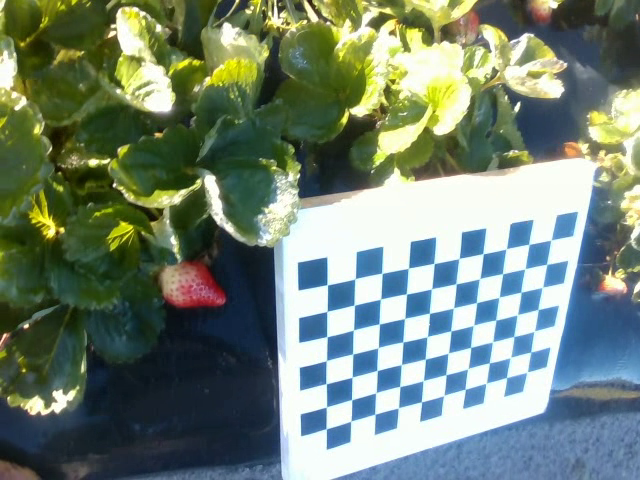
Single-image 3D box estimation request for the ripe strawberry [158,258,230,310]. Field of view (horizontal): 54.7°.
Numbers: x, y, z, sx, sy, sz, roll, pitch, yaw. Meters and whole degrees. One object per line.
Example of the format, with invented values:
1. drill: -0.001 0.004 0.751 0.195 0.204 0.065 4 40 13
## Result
1. ripe strawberry: -0.102 0.044 0.488 0.065 0.040 0.040 34 4 -32
